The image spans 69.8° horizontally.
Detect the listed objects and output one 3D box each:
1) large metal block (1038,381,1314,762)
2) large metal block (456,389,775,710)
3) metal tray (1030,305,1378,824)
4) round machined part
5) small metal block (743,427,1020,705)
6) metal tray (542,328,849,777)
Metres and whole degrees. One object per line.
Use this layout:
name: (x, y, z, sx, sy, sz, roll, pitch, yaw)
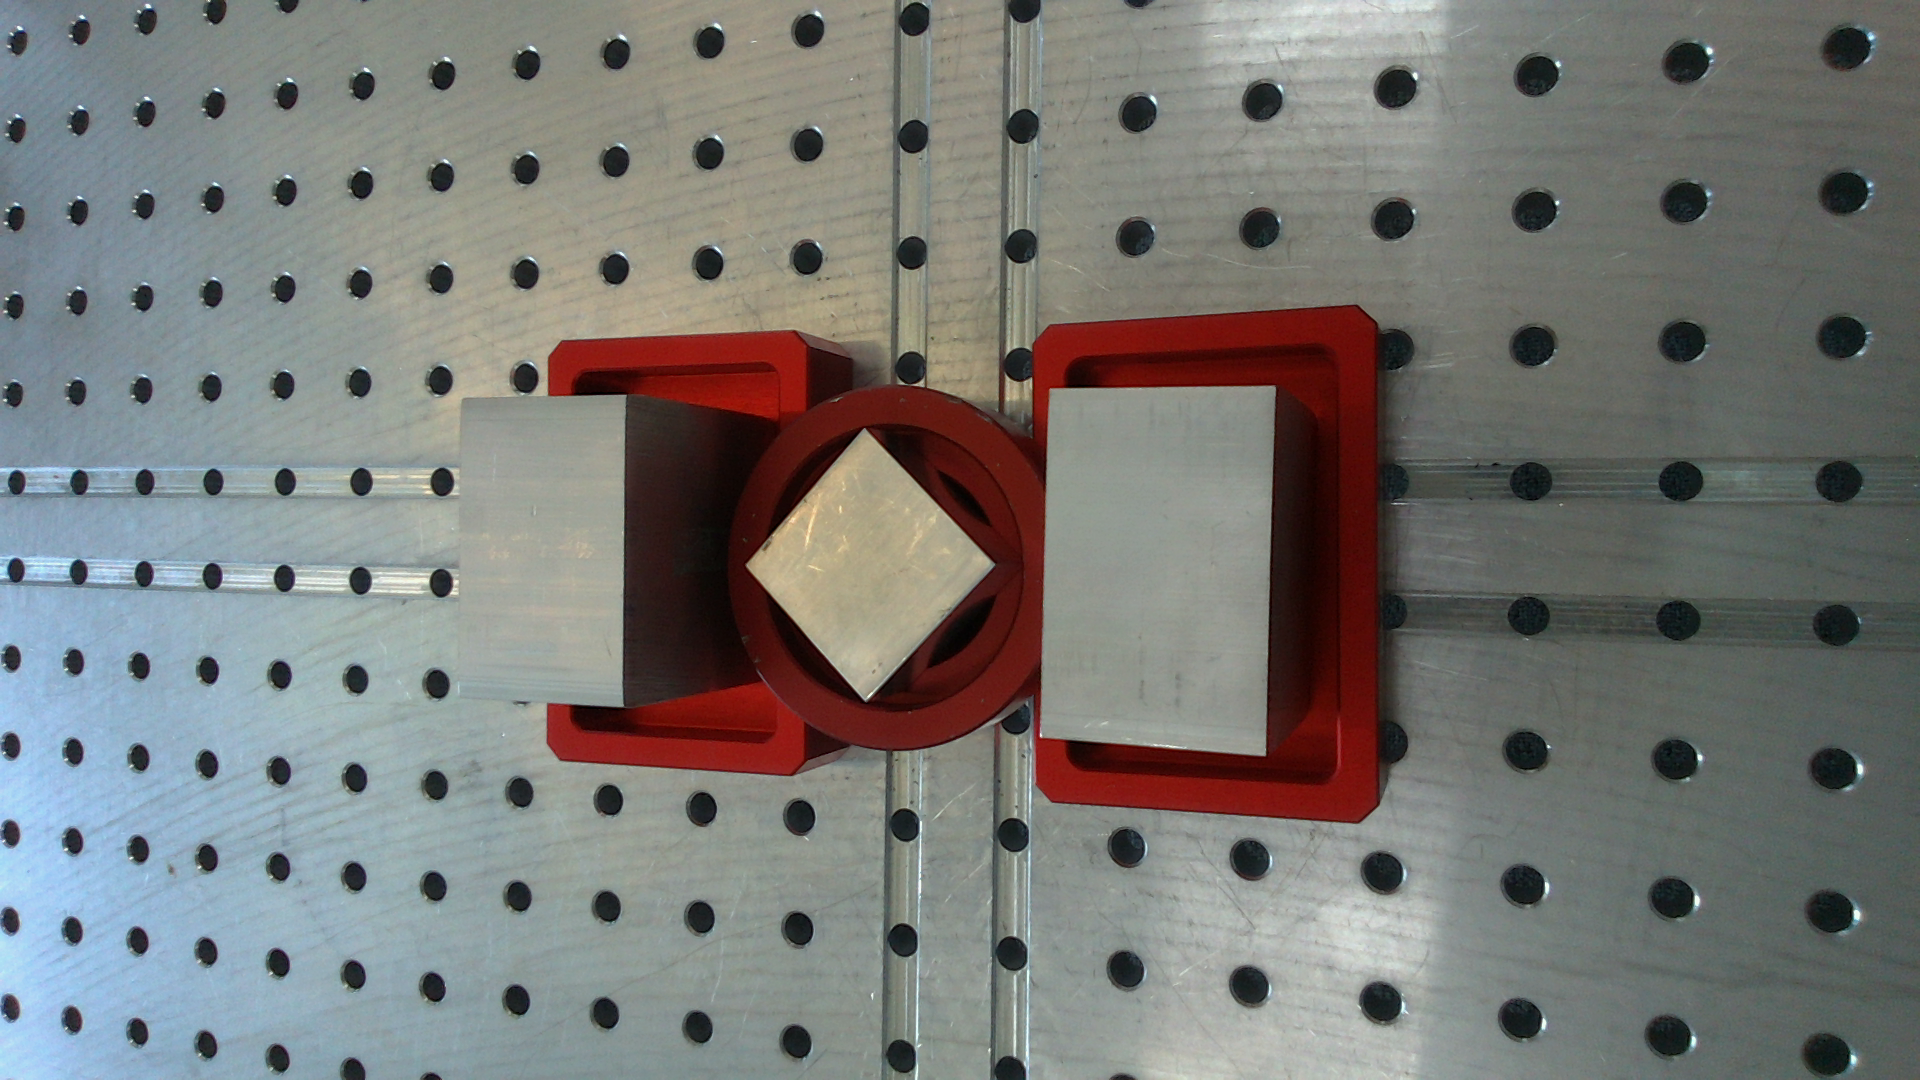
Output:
large metal block: (0.056, 0.006, 0.335, 0.050, 0.080, 0.080, 2, 91, 20)
large metal block: (-0.094, 0.002, 0.389, 0.050, 0.080, 0.080, 1, 90, 20)
metal tray: (0.066, 0.006, 0.371, 0.090, 0.030, 0.130, 0, 90, 20)
round machined part: (-0.012, 0.007, 0.384, 0.098, 0.042, 0.098, 0, 90, 20)
small metal block: (-0.020, 0.007, 0.362, 0.050, 0.025, 0.050, 46, 104, 14)
metal tray: (-0.082, 0.003, 0.424, 0.090, 0.030, 0.130, 1, 90, 20)
